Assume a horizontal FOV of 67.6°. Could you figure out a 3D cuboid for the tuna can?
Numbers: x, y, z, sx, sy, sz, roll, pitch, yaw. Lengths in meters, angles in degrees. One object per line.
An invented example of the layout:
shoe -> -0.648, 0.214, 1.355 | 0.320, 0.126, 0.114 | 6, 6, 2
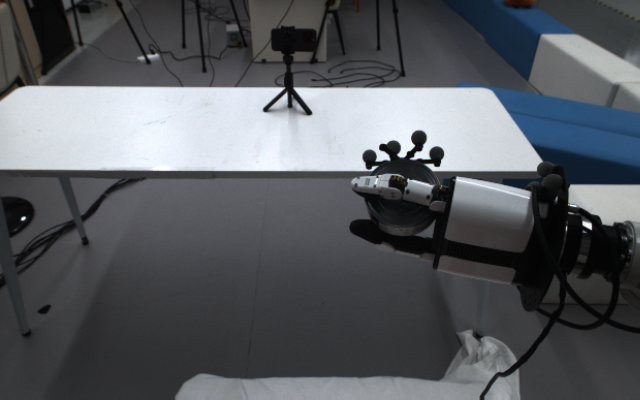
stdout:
tuna can -> 0.095, -0.003, 0.558 | 0.085, 0.034, 0.085 | -6, 61, 10
